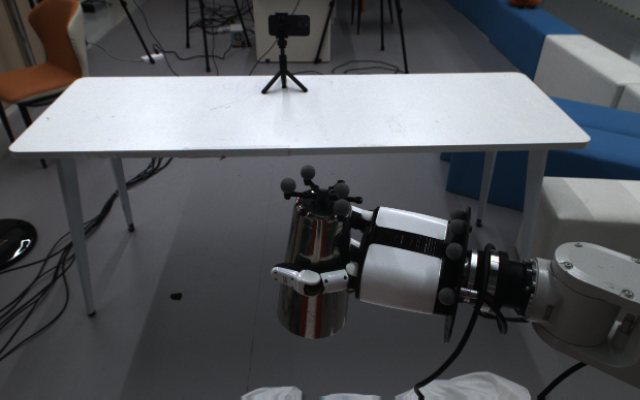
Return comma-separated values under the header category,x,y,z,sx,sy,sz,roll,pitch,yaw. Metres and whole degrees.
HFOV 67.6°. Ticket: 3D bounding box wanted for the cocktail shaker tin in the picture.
category,x,y,z,sx,sy,sz,roll,pitch,yaw
cocktail shaker tin,-0.002,0.075,0.591,0.093,0.170,0.093,4,32,-2
